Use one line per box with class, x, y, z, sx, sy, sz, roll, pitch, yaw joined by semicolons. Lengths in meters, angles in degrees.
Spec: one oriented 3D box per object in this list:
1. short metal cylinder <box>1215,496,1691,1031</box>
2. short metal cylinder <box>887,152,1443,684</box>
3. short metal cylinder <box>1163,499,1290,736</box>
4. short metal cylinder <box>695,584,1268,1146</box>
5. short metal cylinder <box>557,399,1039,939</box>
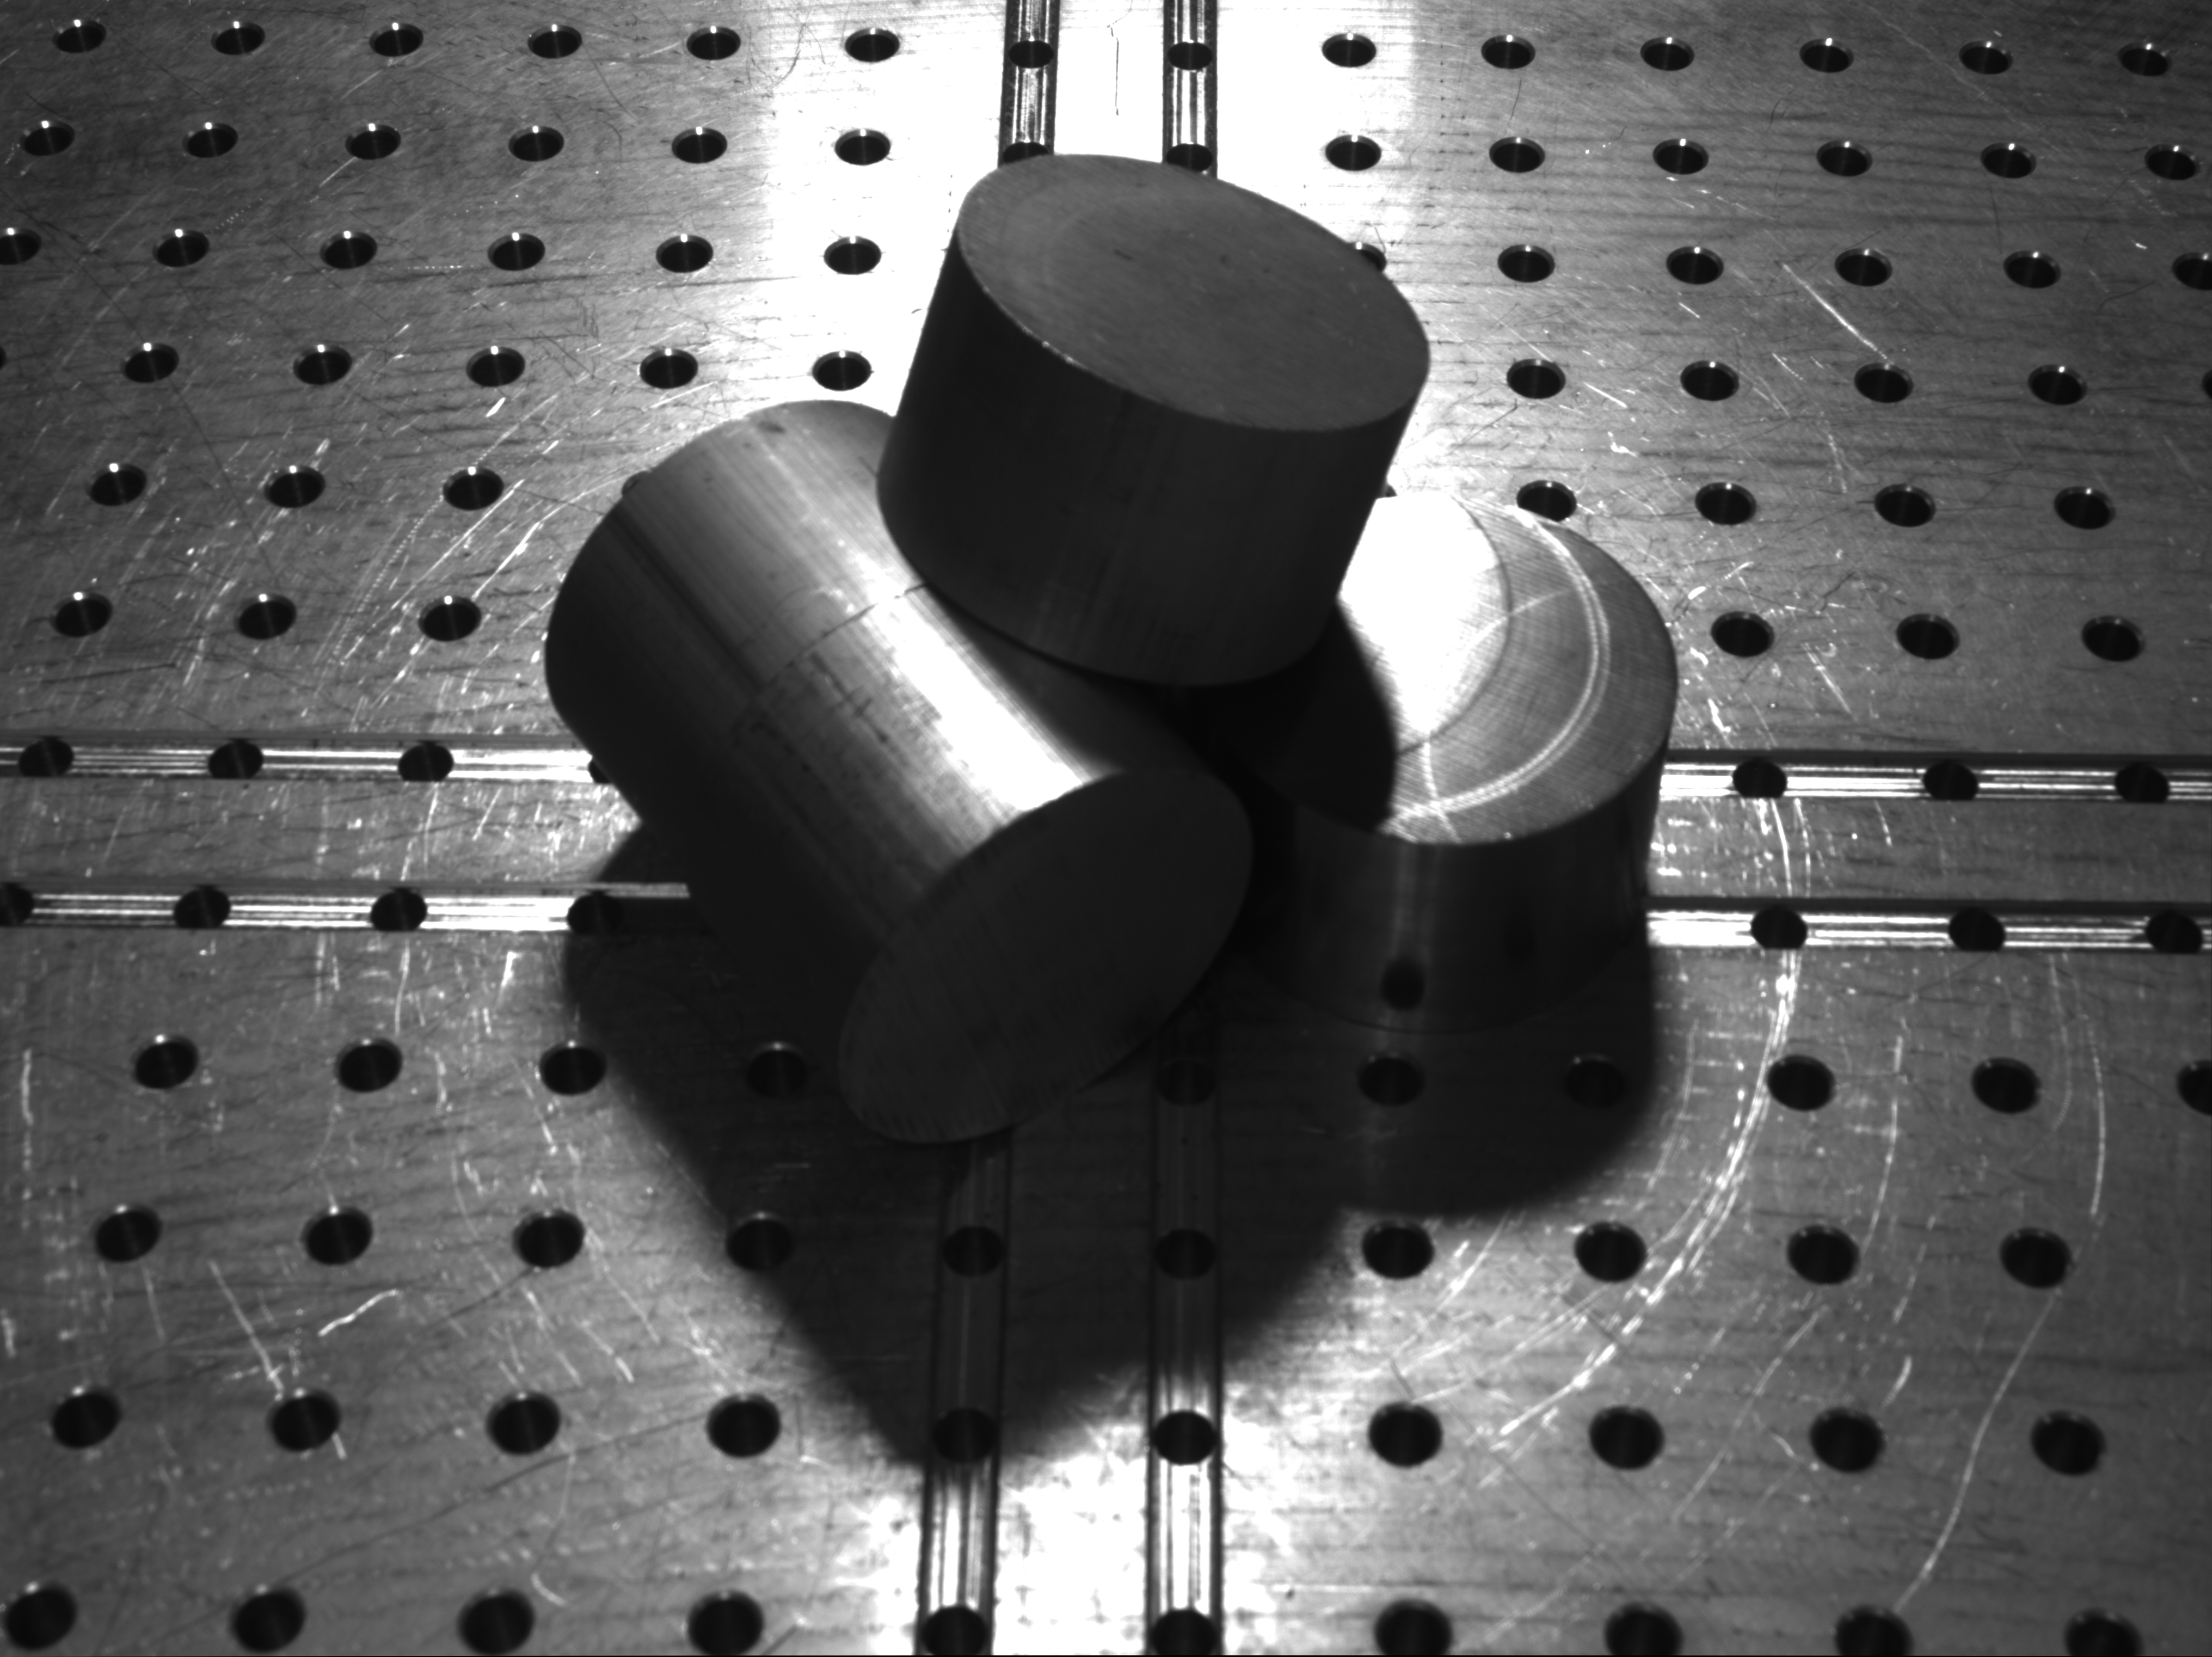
short metal cylinder;0.059;-0.012;0.638;0.080;0.050;0.080;0;50;0
short metal cylinder;0.009;-0.068;0.602;0.080;0.050;0.080;14;36;-10
short metal cylinder;0.014;-0.063;0.681;0.080;0.050;0.080;0;50;0
short metal cylinder;-0.020;0.006;0.604;0.080;0.080;0.050;-27;55;-21
short metal cylinder;-0.047;-0.027;0.632;0.080;0.080;0.050;-27;55;-21
